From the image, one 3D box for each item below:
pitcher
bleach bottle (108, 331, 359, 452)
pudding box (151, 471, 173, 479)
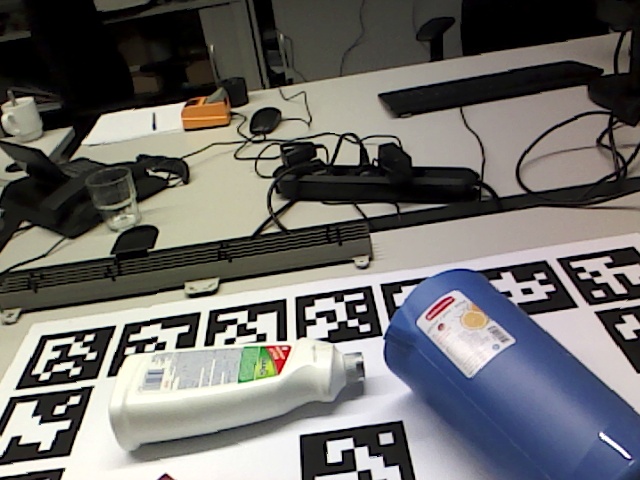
[{"bbox_3d":[0.179,0.152,0.539,0.187,0.133,0.244,12,22,-37],"label":"pitcher"},{"bbox_3d":[-0.083,0.148,0.646,0.250,0.067,0.103,-8,35,-2],"label":"bleach bottle"},{"bbox_3d":[-0.131,0.252,0.501,0.114,0.038,0.089,21,37,38],"label":"pudding box"}]
